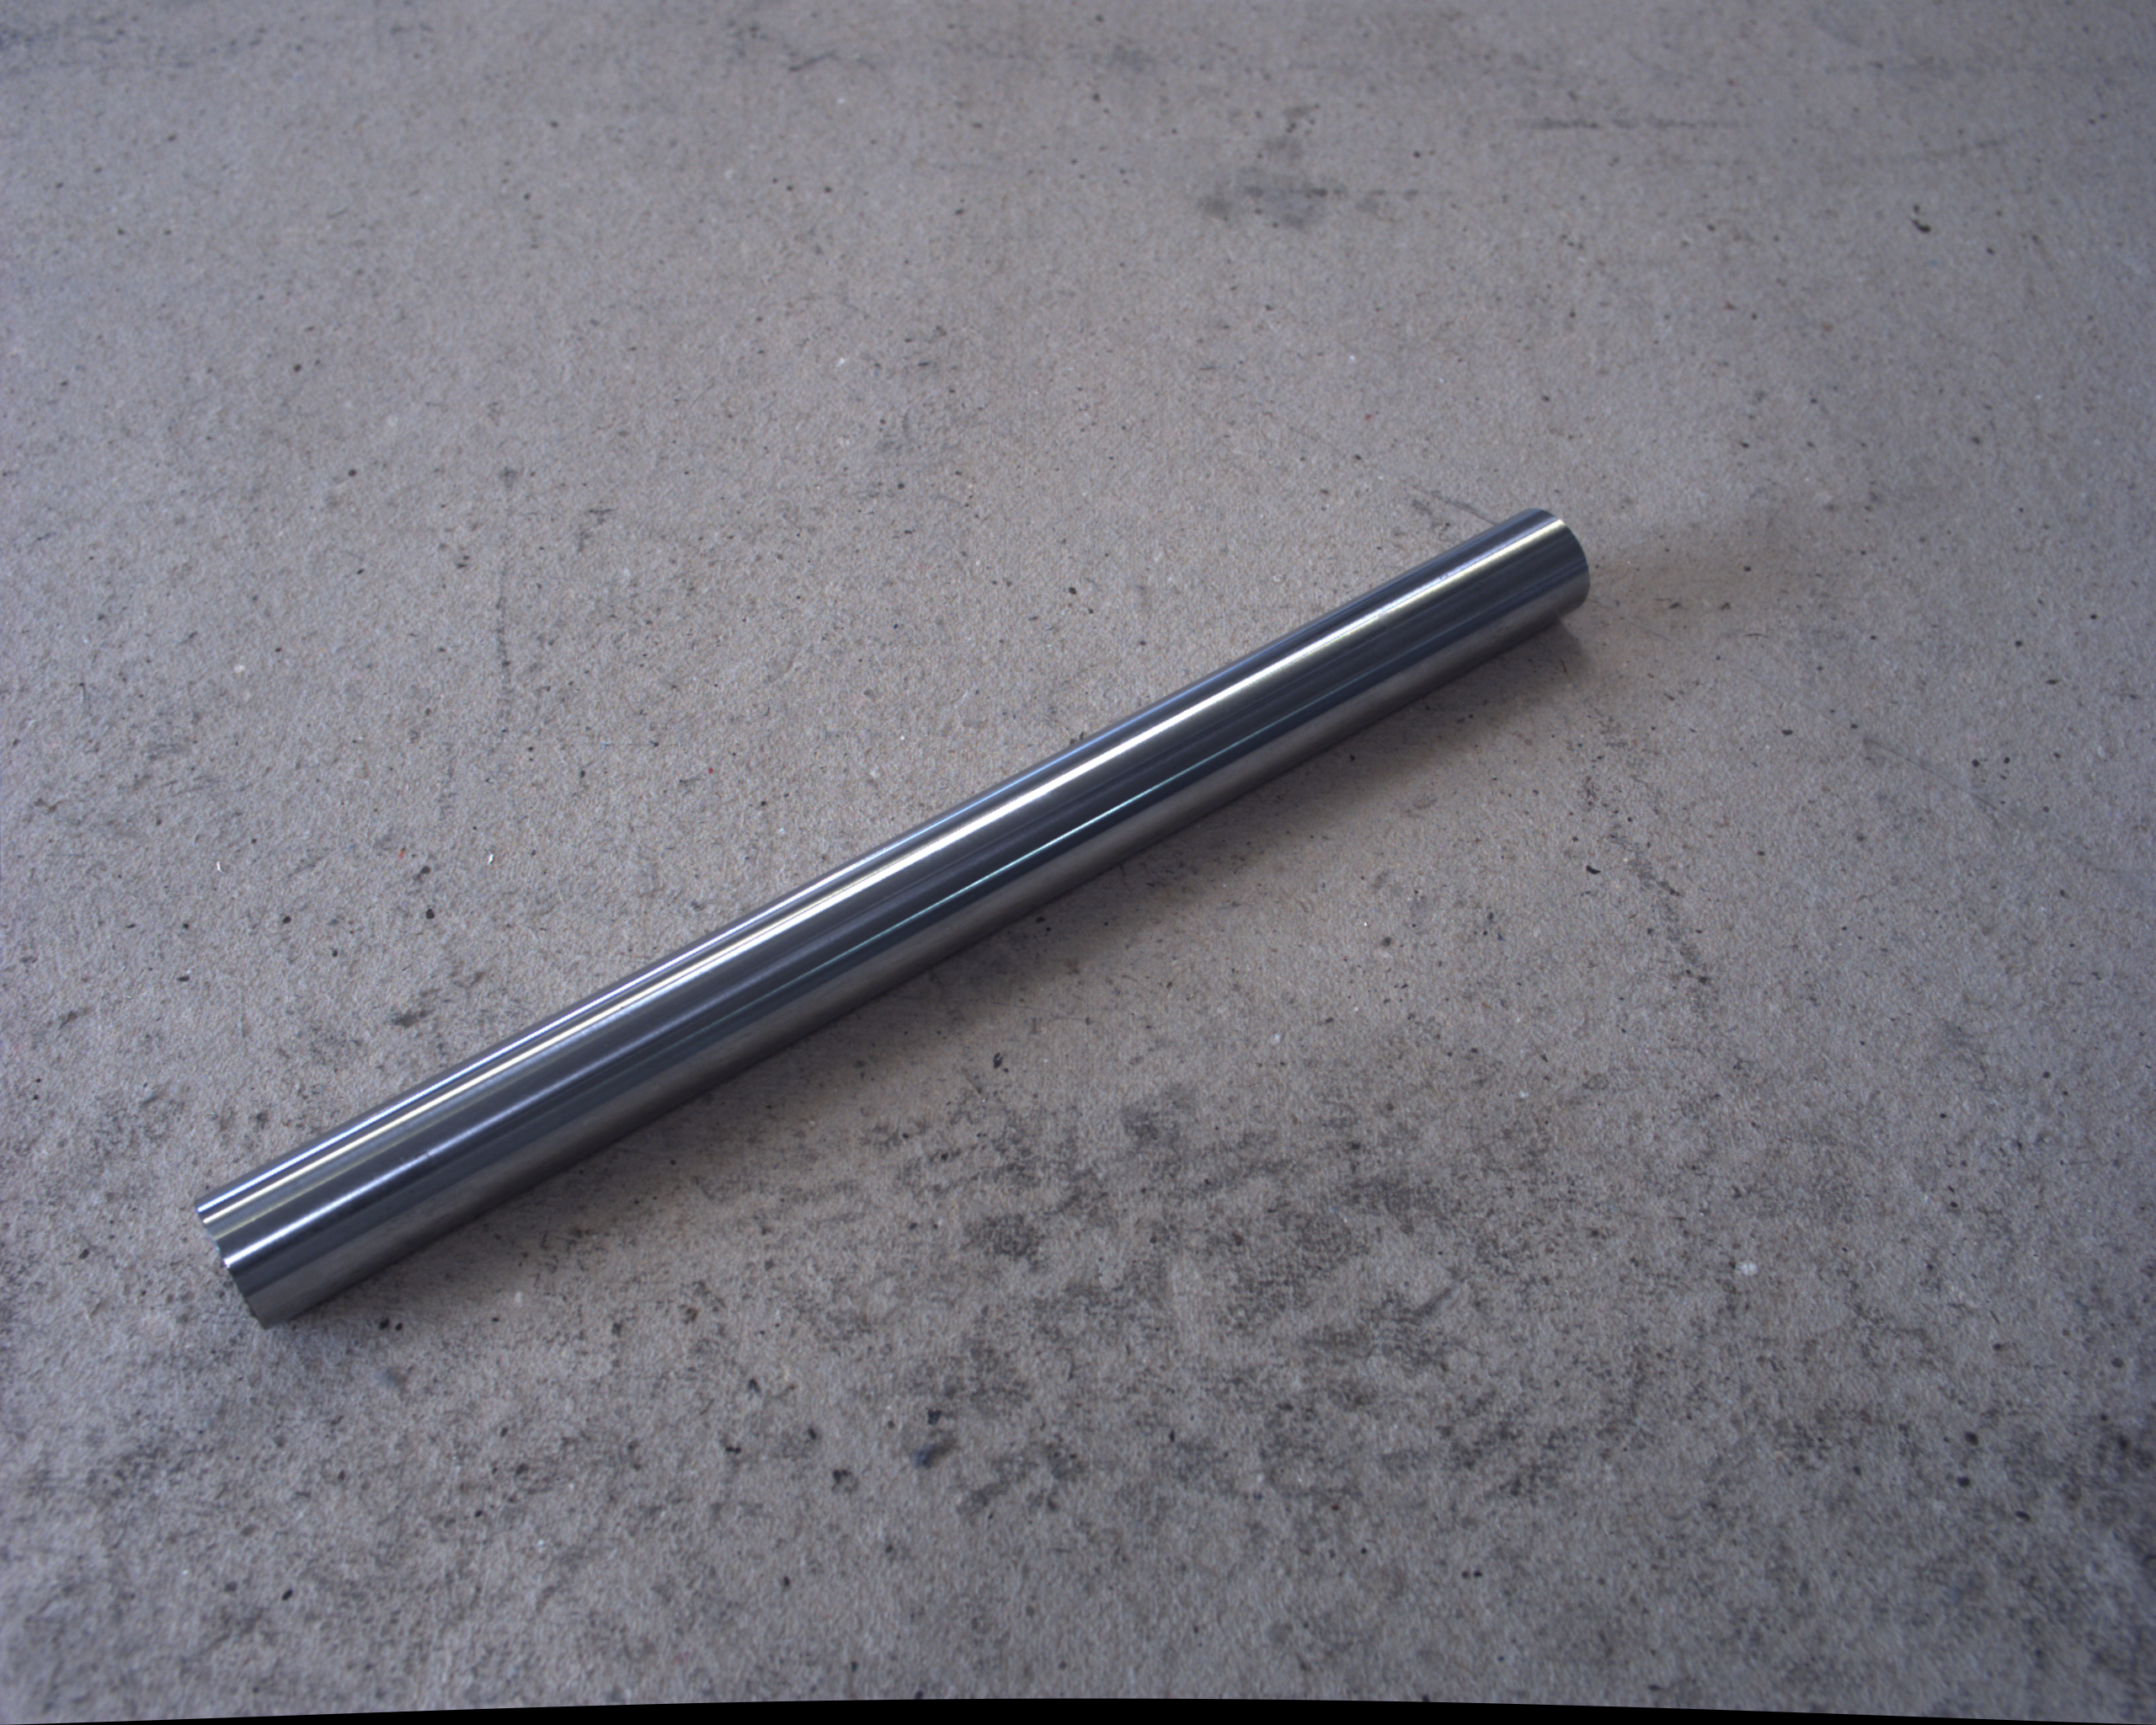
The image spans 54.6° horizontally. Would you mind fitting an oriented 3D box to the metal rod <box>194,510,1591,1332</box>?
[{"bbox_3d":[-0.018,0.001,0.405,0.302,0.025,0.025,-29,56,-22],"label":"metal rod"}]
